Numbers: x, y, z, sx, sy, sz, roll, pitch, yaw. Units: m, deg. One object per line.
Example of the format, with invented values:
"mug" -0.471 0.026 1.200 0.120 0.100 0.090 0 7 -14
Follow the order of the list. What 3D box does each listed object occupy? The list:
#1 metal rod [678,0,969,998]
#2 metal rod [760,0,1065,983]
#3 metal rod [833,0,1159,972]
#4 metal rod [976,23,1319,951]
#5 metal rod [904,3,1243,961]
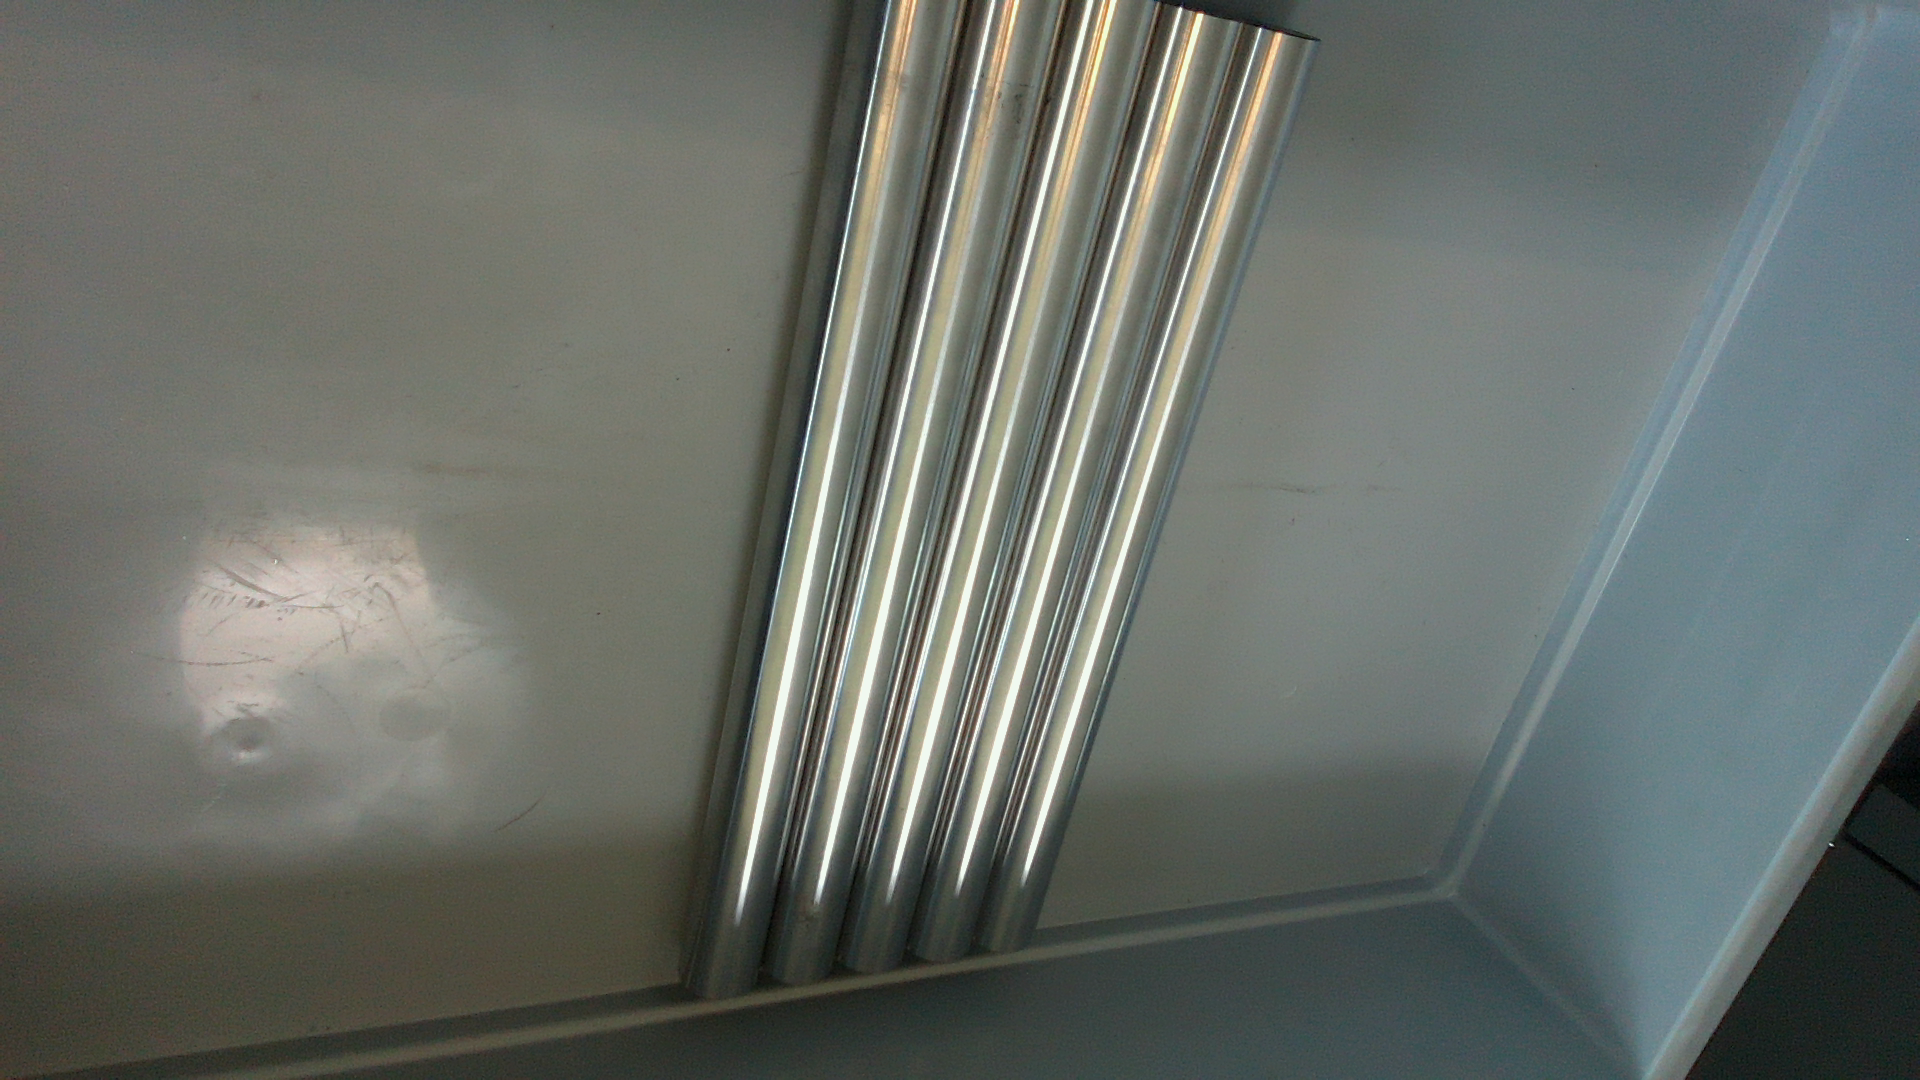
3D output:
"metal rod" -0.042 0.002 0.366 0.025 0.025 0.300 0 118 -28
"metal rod" -0.021 0.001 0.377 0.025 0.025 0.300 0 118 -28
"metal rod" 0.002 0.001 0.390 0.025 0.025 0.300 0 118 -28
"metal rod" 0.046 0.002 0.414 0.025 0.025 0.300 0 118 -28
"metal rod" 0.024 0.001 0.402 0.025 0.025 0.300 0 118 -28
